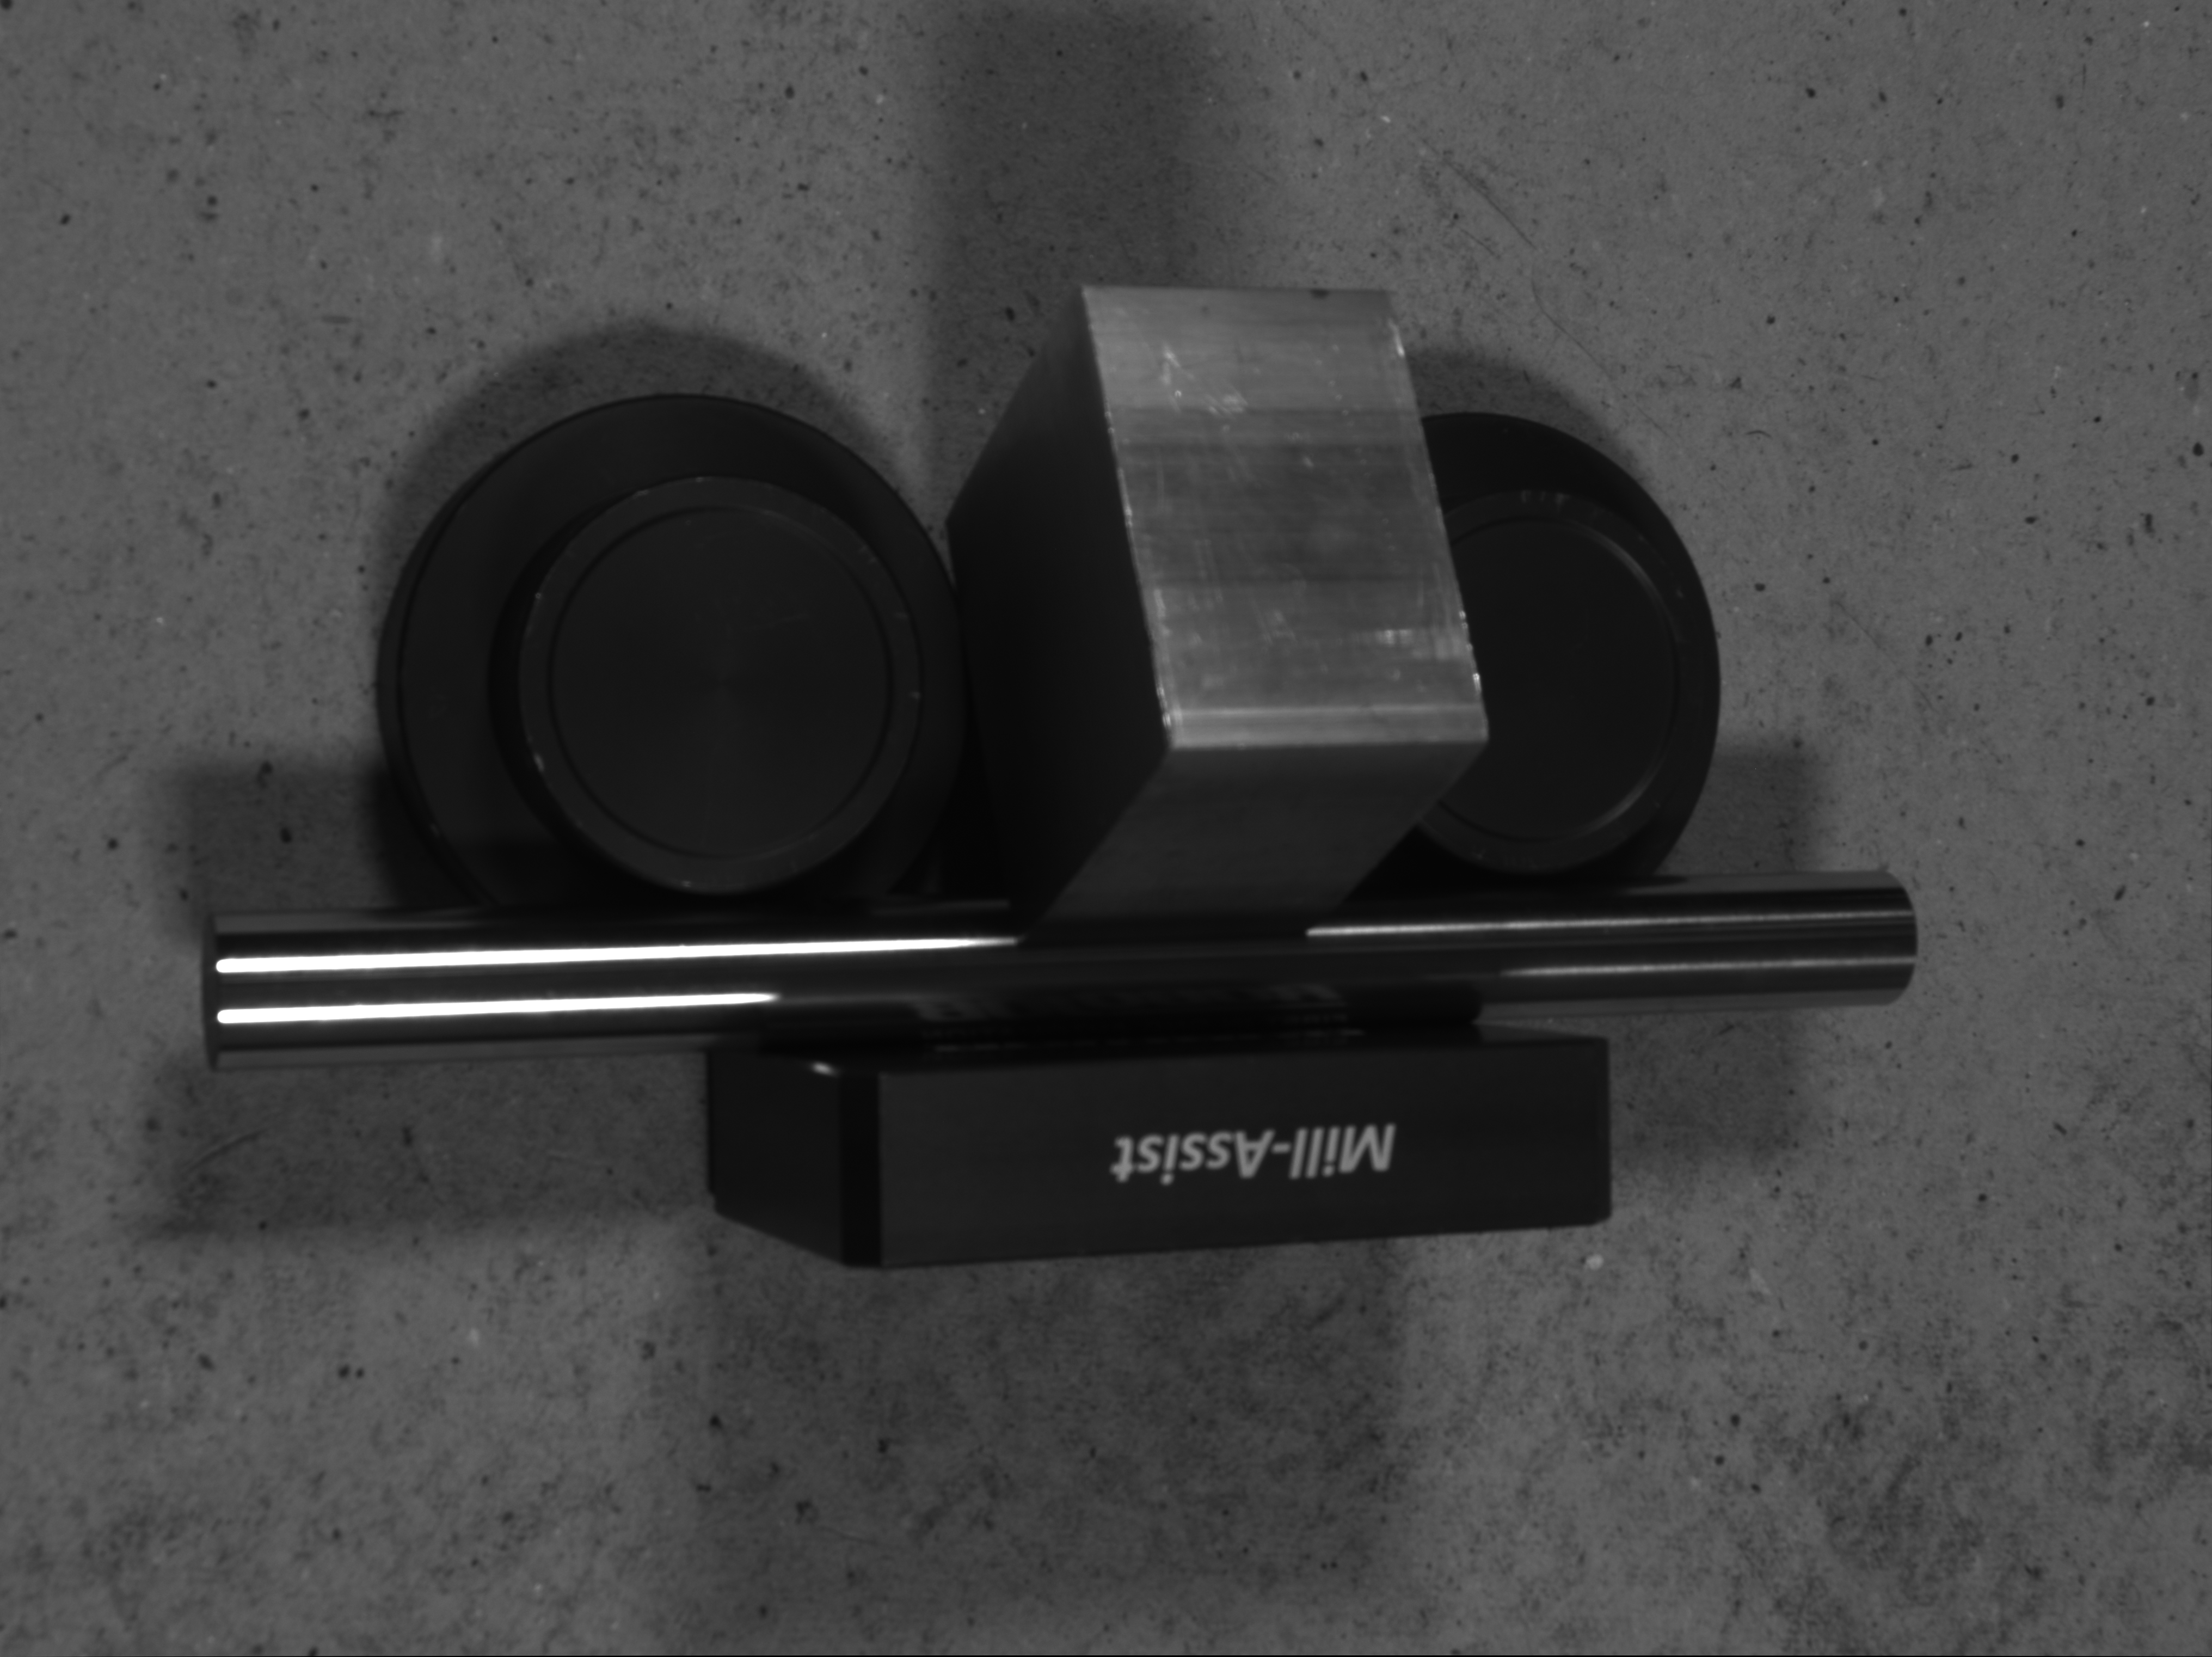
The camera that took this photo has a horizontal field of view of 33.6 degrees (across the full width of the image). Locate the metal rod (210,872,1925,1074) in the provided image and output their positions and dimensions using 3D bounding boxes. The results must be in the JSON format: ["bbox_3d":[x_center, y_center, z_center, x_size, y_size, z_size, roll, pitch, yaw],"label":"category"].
[{"bbox_3d":[0.003,0.023,0.623,0.301,0.025,0.025,-1,90,-20],"label":"metal rod"}]

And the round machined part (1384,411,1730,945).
[{"bbox_3d":[0.070,-0.026,0.659,0.098,0.042,0.098,0,90,-20],"label":"round machined part"}]

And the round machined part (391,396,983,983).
[{"bbox_3d":[-0.067,-0.023,0.608,0.098,0.042,0.098,0,90,-20],"label":"round machined part"}]

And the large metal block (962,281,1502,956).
[{"bbox_3d":[0.017,-0.032,0.592,0.050,0.080,0.080,-2,67,-20],"label":"large metal block"}]

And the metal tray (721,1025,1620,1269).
[{"bbox_3d":[0.009,0.050,0.612,0.130,0.090,0.030,-1,90,-20],"label":"metal tray"}]
